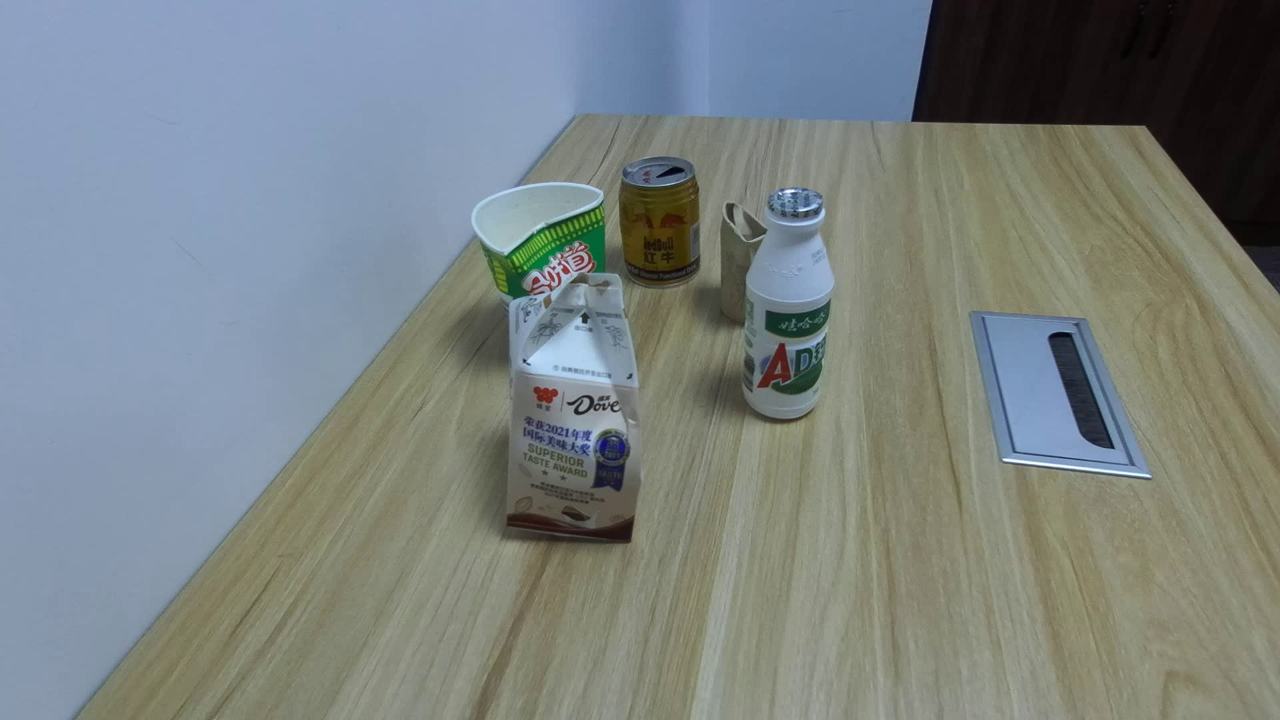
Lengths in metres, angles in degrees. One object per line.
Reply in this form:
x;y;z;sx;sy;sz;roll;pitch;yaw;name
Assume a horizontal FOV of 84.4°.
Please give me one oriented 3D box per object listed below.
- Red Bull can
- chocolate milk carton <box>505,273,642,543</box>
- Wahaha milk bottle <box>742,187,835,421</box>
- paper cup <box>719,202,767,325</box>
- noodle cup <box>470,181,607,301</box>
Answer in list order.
0.017;-0.115;0.591;0.068;0.093;0.068;-2;38;2;Red Bull can
-0.036;0.019;0.391;0.077;0.155;0.089;0;25;0;chocolate milk carton
0.090;-0.031;0.434;0.053;0.147;0.053;-3;38;3;Wahaha milk bottle
0.097;-0.084;0.574;0.058;0.083;0.066;-14;43;-12;paper cup
-0.065;-0.064;0.526;0.094;0.110;0.086;-20;41;-17;noodle cup
